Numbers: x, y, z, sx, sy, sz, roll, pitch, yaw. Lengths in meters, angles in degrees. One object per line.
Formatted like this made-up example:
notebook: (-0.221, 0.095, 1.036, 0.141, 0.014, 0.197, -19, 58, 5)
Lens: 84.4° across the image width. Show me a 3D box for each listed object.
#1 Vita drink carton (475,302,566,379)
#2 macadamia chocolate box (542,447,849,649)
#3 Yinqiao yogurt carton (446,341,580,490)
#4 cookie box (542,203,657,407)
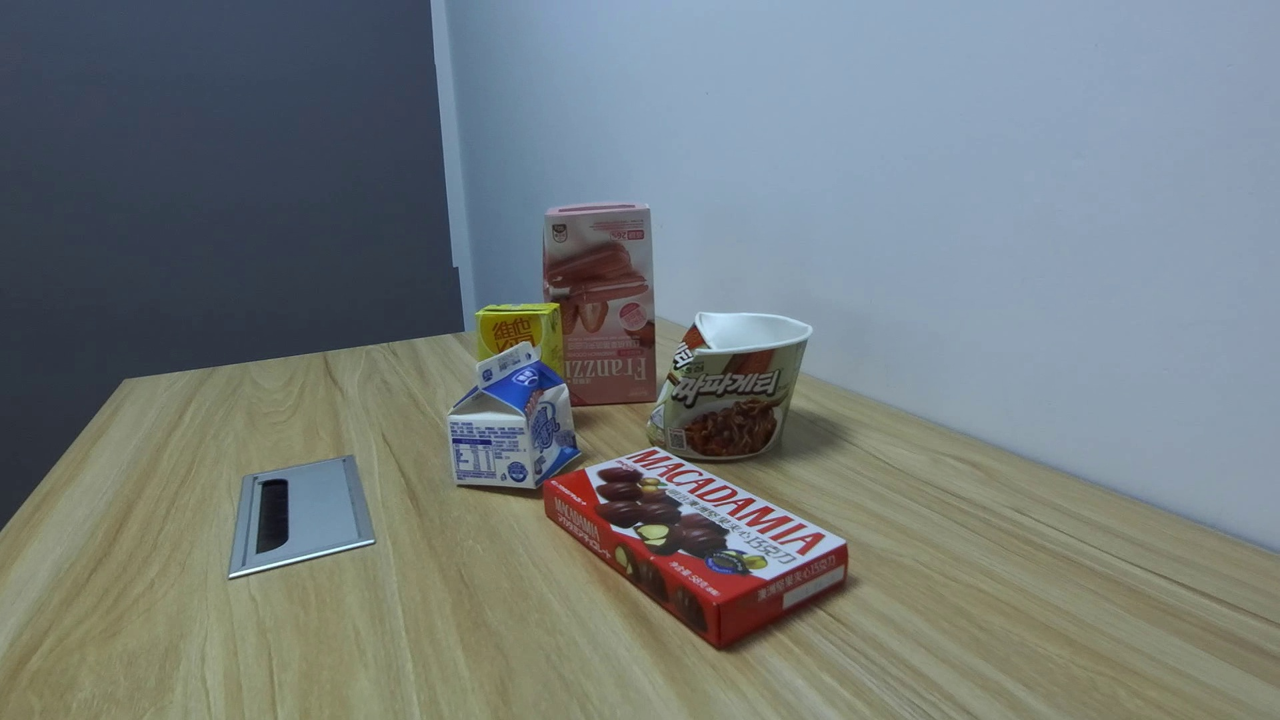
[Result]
Vita drink carton: (-0.102, 0.007, 0.618, 0.066, 0.109, 0.043, 1, 17, 9)
macadamia chocolate box: (0.025, 0.100, 0.422, 0.096, 0.027, 0.177, -12, 18, -33)
Yinqiao yogurt carton: (-0.094, 0.040, 0.528, 0.071, 0.094, 0.077, -1, 14, 26)
cookie box: (-0.038, -0.052, 0.666, 0.105, 0.187, 0.049, -2, 17, 0)
